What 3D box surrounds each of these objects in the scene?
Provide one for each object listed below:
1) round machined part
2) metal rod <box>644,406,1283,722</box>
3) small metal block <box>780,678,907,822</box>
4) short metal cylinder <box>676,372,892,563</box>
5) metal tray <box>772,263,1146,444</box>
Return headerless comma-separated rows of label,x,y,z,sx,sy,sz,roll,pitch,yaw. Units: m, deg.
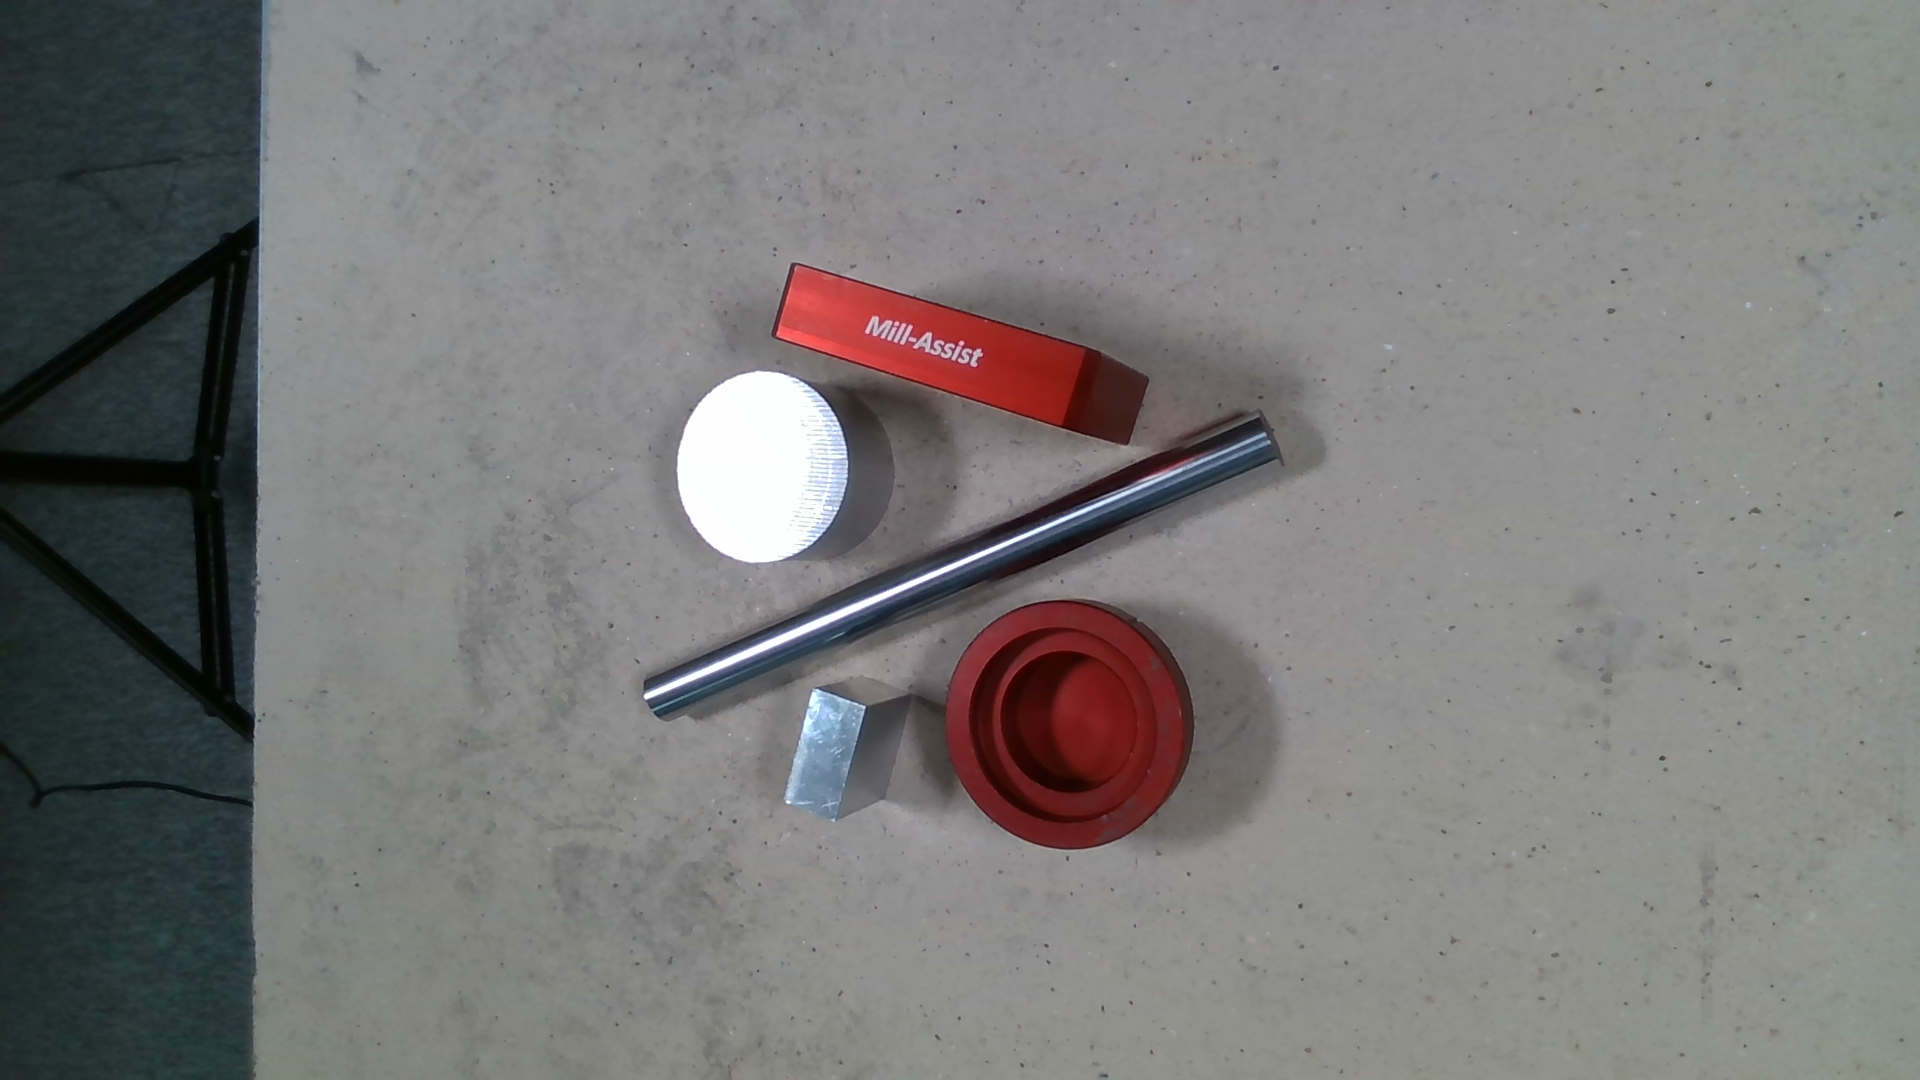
round machined part,0.047,0.073,0.560,0.098,0.042,0.098,0,91,20
metal rod,-0.008,0.016,0.590,0.300,0.025,0.025,-24,82,19
small metal block,-0.048,0.088,0.588,0.025,0.050,0.050,18,96,19
short metal cylinder,-0.075,-0.031,0.600,0.080,0.050,0.080,0,90,20
metal tray,0.002,-0.073,0.550,0.130,0.090,0.030,19,97,19
